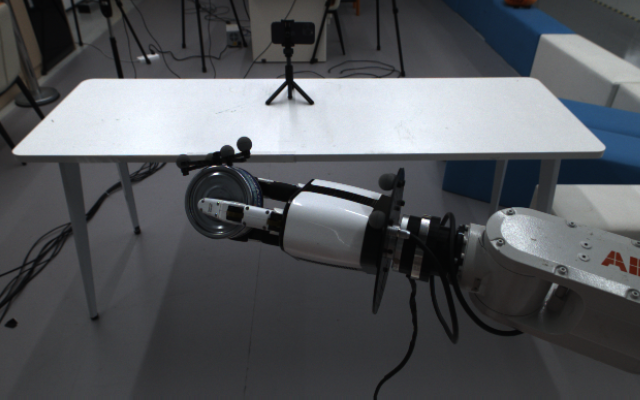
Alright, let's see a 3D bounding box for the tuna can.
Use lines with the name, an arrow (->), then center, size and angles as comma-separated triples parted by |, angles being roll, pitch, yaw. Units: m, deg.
tuna can -> -0.107, 0.008, 0.554 | 0.085, 0.085, 0.034 | 12, 3, 14
